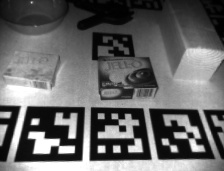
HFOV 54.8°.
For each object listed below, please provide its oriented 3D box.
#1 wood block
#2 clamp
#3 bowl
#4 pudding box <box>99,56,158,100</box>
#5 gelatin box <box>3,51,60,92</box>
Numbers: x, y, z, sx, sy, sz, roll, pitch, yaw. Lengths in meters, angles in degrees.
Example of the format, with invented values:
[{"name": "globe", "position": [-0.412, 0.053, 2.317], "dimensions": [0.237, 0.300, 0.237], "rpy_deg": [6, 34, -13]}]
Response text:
[{"name": "wood block", "position": [0.187, -0.120, 0.511], "dimensions": [0.090, 0.091, 0.205], "rpy_deg": [5, 53, -6]}, {"name": "clamp", "position": [-0.028, -0.192, 0.576], "dimensions": [0.166, 0.036, 0.121], "rpy_deg": [-6, 54, -15]}, {"name": "bowl", "position": [-0.186, -0.170, 0.521], "dimensions": [0.162, 0.055, 0.161], "rpy_deg": [5, 56, -6]}, {"name": "pudding box", "position": [0.031, -0.016, 0.443], "dimensions": [0.114, 0.039, 0.089], "rpy_deg": [0, 57, -6]}, {"name": "gelatin box", "position": [-0.155, -0.030, 0.427], "dimensions": [0.089, 0.030, 0.073], "rpy_deg": [8, 54, -2]}]
